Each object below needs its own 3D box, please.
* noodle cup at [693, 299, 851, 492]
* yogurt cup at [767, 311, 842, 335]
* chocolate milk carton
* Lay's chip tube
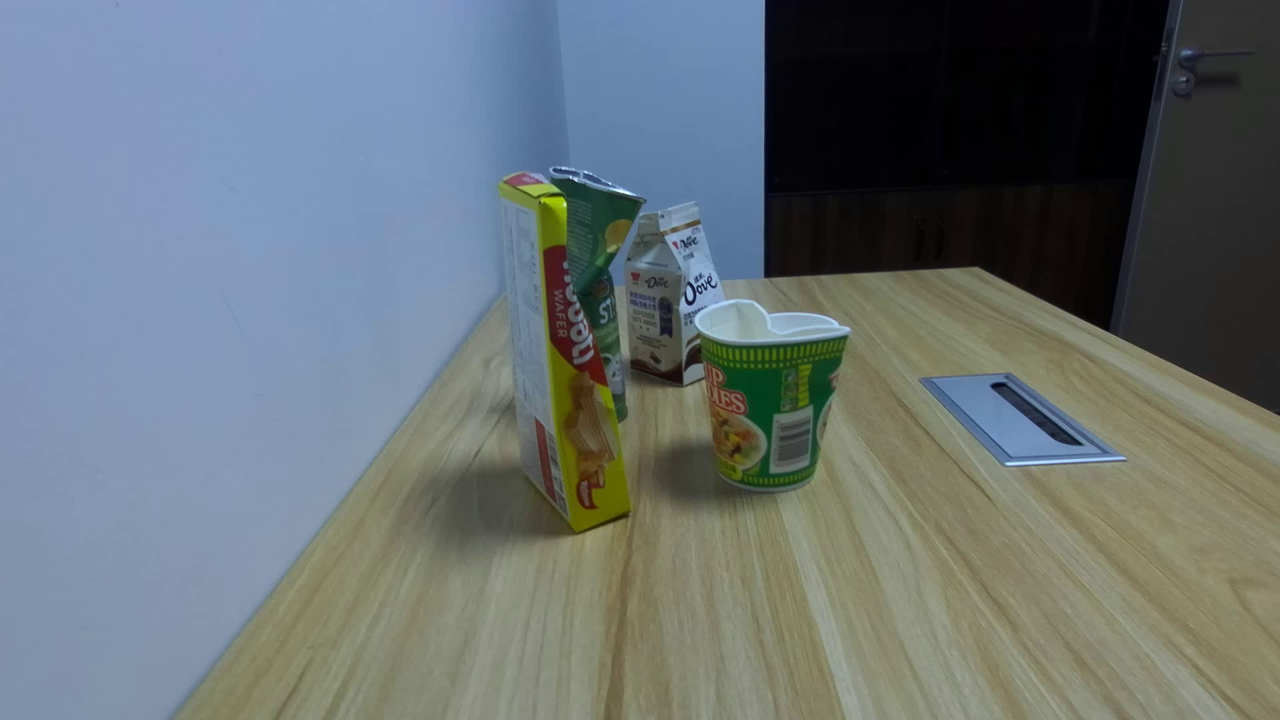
[{"bbox_3d":[0.080,0.024,0.466,0.087,0.109,0.093,-8,21,-13],"label":"noodle cup"},{"bbox_3d":[0.125,0.005,0.565,0.072,0.068,0.072,-2,23,1],"label":"yogurt cup"},{"bbox_3d":[0.038,-0.065,0.651,0.084,0.155,0.072,-21,27,-39],"label":"chocolate milk carton"},{"bbox_3d":[-0.038,-0.046,0.557,0.071,0.199,0.078,-3,22,-17],"label":"Lay's chip tube"}]
